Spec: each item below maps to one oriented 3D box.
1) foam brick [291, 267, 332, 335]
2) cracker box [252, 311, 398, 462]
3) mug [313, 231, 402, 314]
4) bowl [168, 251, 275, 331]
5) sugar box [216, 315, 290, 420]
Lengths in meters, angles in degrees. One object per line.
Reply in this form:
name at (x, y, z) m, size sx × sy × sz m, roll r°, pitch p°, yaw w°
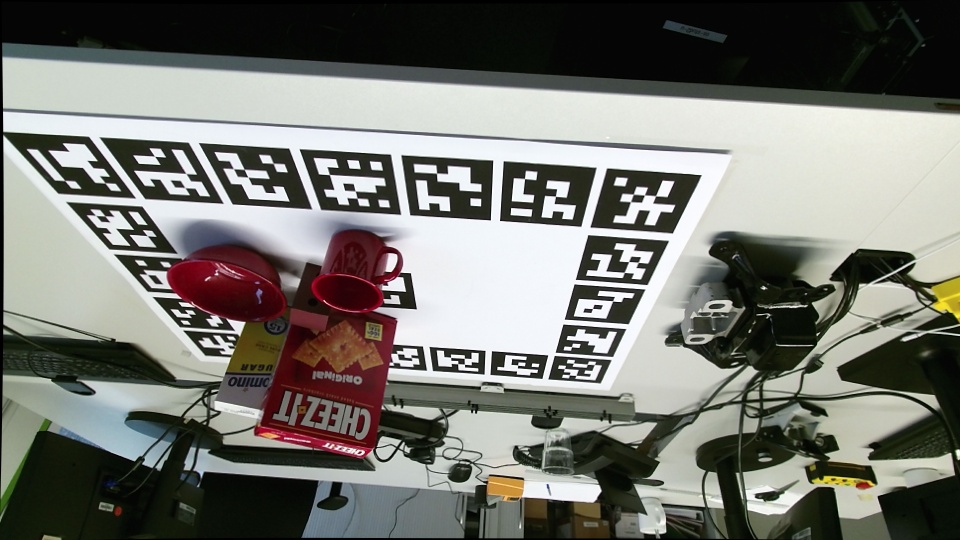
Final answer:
foam brick at (-0.241, 0.045, 0.782) m, size 0.053 × 0.077 × 0.051 m, roll 12°, pitch 143°, yaw -11°
cracker box at (-0.229, 0.163, 0.820) m, size 0.165 × 0.212 × 0.072 m, roll 22°, pitch 142°, yaw -21°
mug at (-0.159, 0.001, 0.699) m, size 0.117 × 0.081 × 0.093 m, roll -4°, pitch 151°, yaw 8°
bowl at (-0.363, 0.023, 0.759) m, size 0.162 × 0.055 × 0.162 m, roll 3°, pitch 142°, yaw 2°
sugar box at (-0.339, 0.152, 0.845) m, size 0.093 × 0.175 × 0.045 m, roll 16°, pitch 142°, yaw -15°
